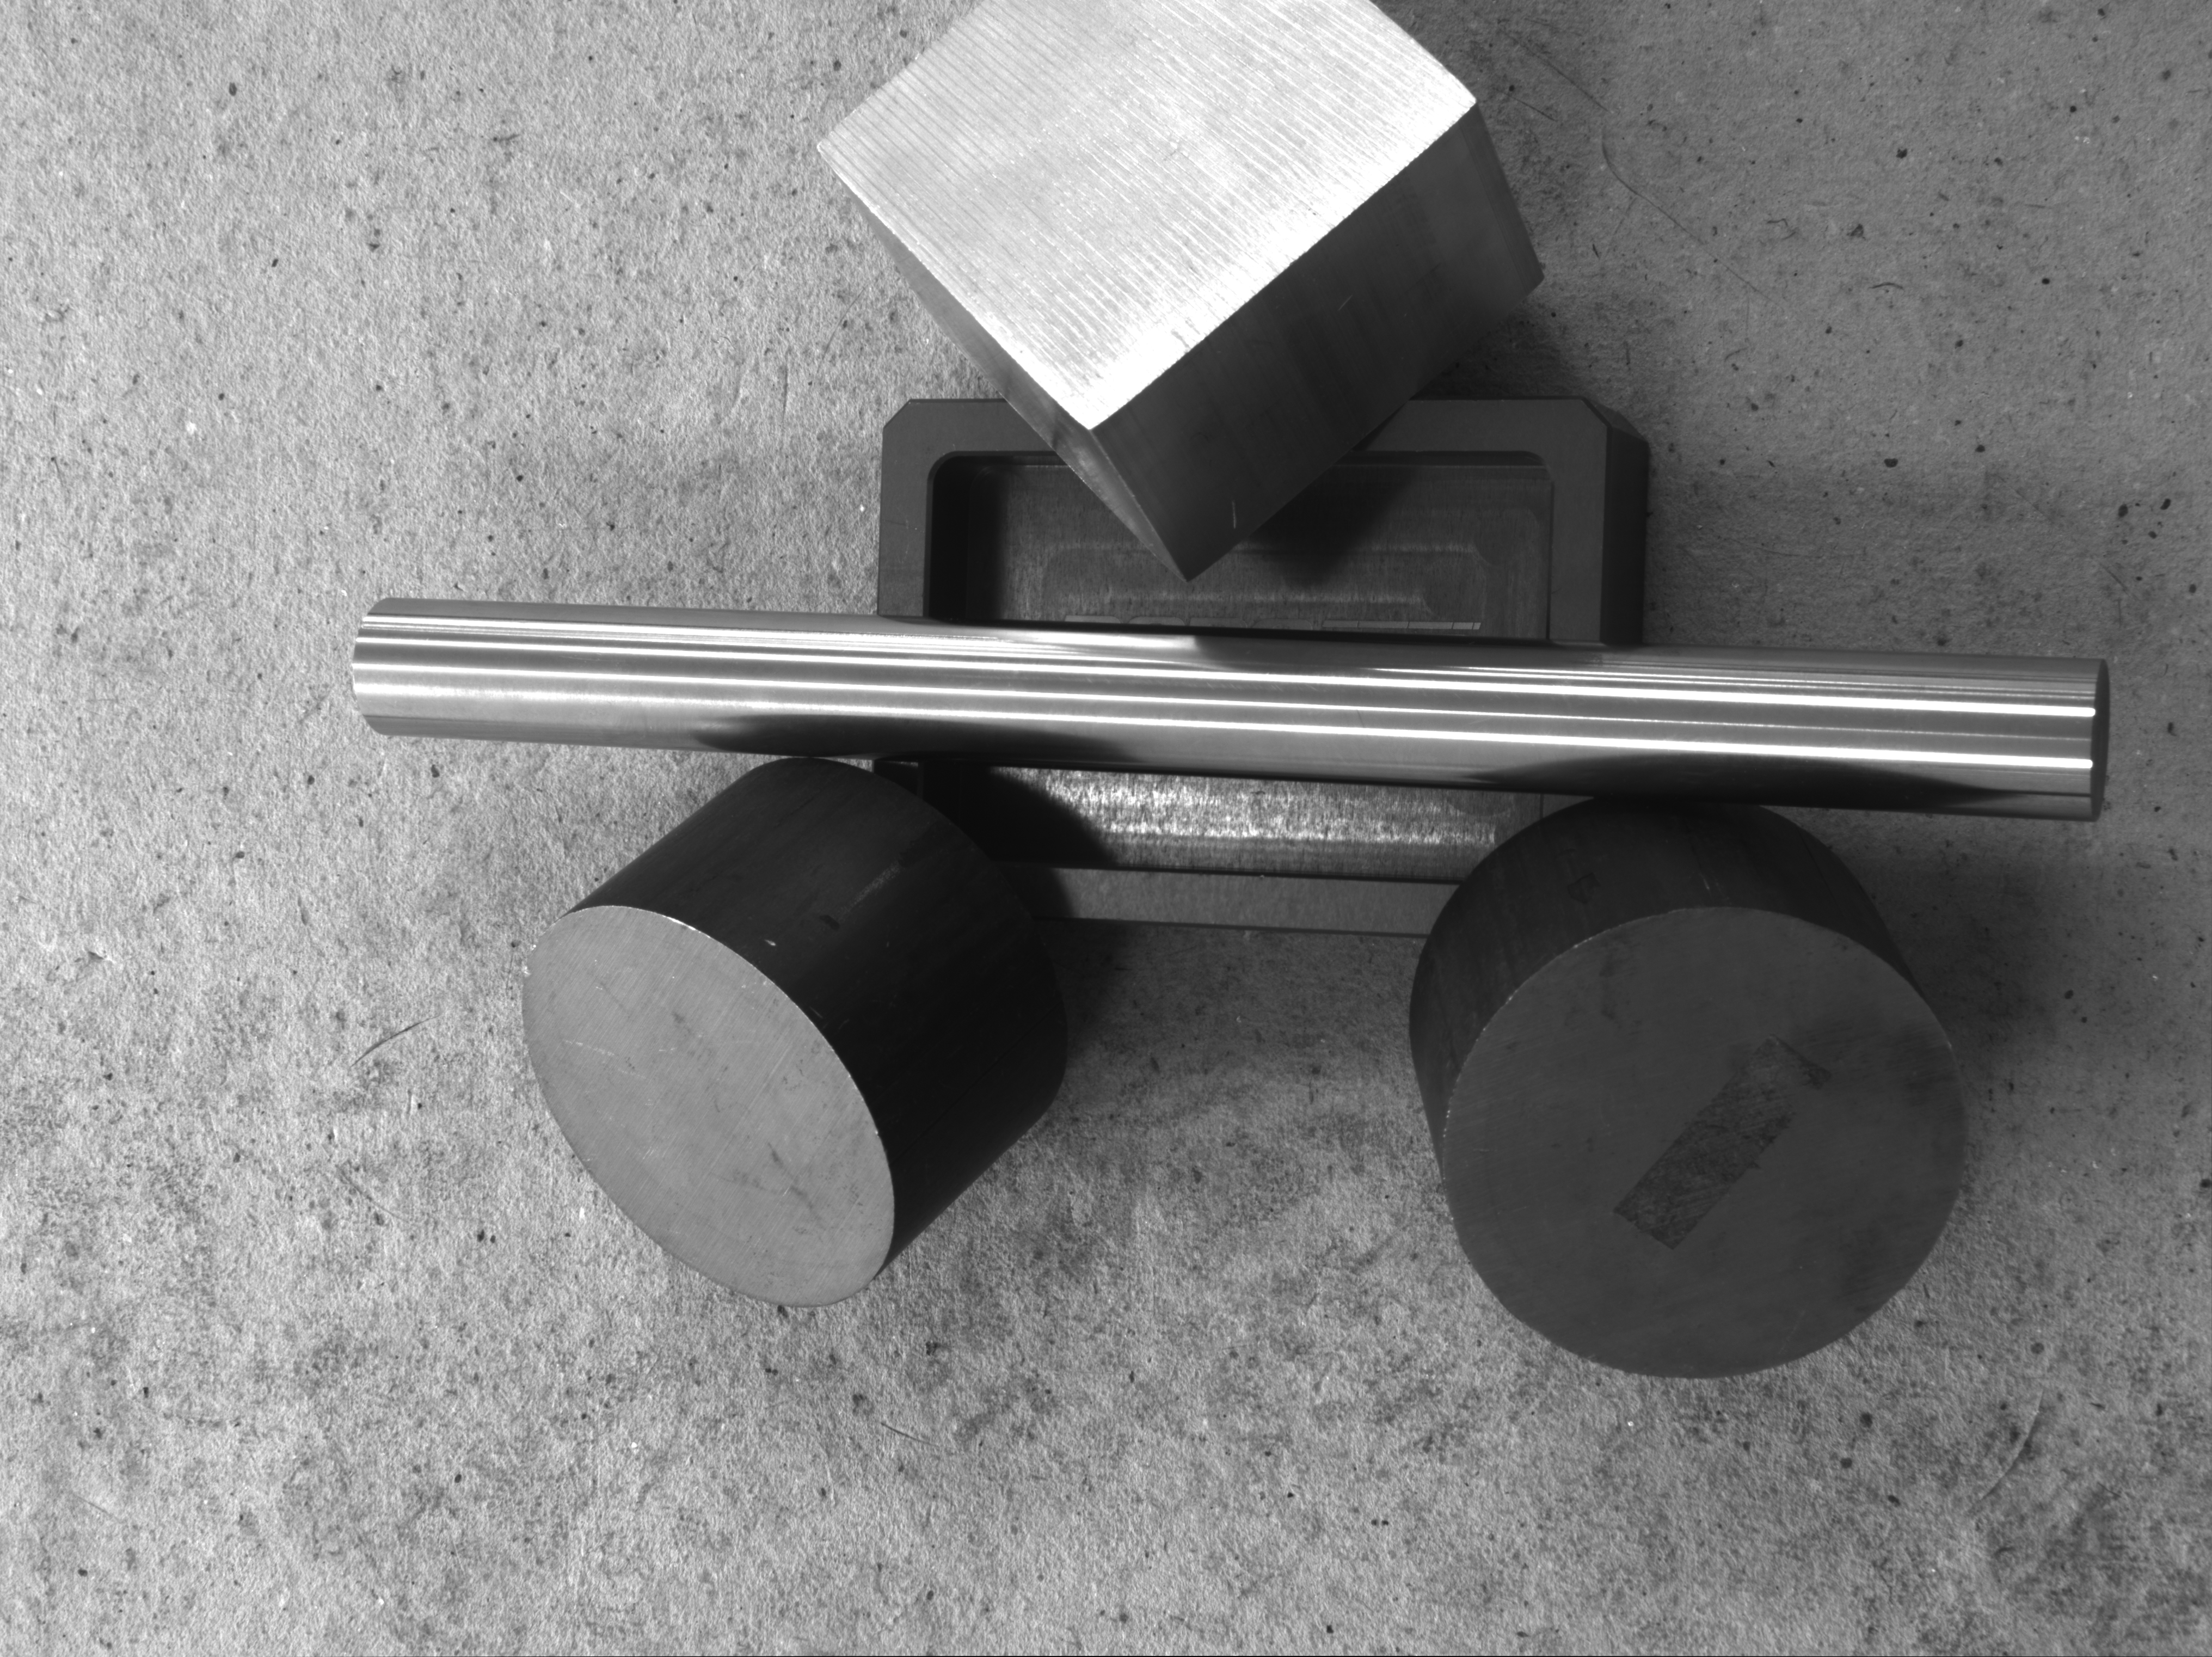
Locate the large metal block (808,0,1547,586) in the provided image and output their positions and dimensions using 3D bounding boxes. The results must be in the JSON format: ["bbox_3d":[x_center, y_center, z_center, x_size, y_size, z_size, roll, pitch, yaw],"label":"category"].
[{"bbox_3d":[0.012,-0.102,0.606,0.080,0.050,0.080,-41,60,-1],"label":"large metal block"}]

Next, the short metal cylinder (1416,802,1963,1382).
[{"bbox_3d":[0.091,0.040,0.583,0.080,0.050,0.080,0,111,0],"label":"short metal cylinder"}]

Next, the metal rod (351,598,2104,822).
[{"bbox_3d":[0.011,-0.021,0.611,0.299,0.025,0.025,3,91,20],"label":"metal rod"}]

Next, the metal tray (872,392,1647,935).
[{"bbox_3d":[0.025,-0.028,0.636,0.130,0.030,0.090,2,91,20],"label":"metal tray"}]

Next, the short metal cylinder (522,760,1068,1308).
[{"bbox_3d":[-0.054,0.035,0.634,0.080,0.050,0.080,22,132,27],"label":"short metal cylinder"}]
